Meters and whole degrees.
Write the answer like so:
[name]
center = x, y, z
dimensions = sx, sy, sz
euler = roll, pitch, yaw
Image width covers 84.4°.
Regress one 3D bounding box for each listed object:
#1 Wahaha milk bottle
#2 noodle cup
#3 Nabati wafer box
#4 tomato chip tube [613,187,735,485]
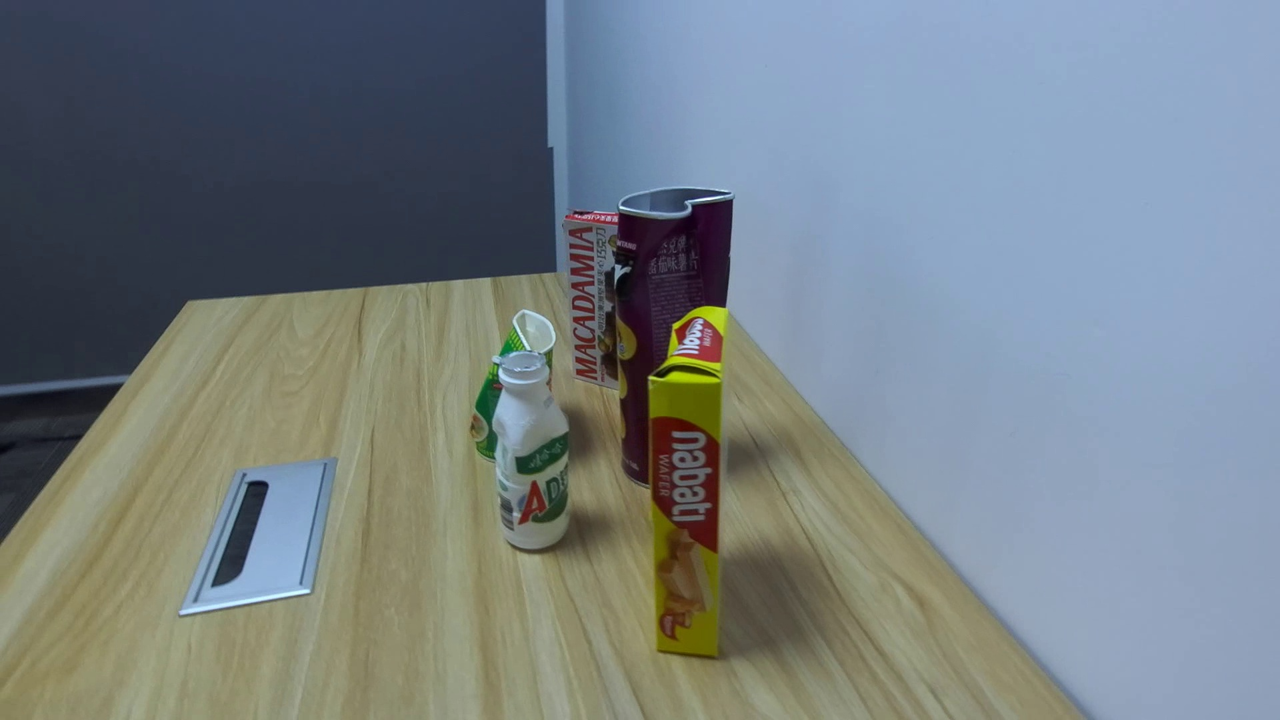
[Wahaha milk bottle]
center = -0.079, 0.064, 0.509
dimensions = 0.055, 0.149, 0.055
euler = 0, 28, 0
[noodle cup]
center = -0.113, 0.026, 0.620
dimensions = 0.075, 0.122, 0.083
euler = 28, 31, 27
[Nabati wafer box]
center = 0.033, 0.071, 0.437
dimensions = 0.042, 0.204, 0.107
euler = 2, 29, 7
[tomato chip tube]
center = 0.024, -0.011, 0.556
dimensions = 0.077, 0.235, 0.076
euler = 9, 26, 13
